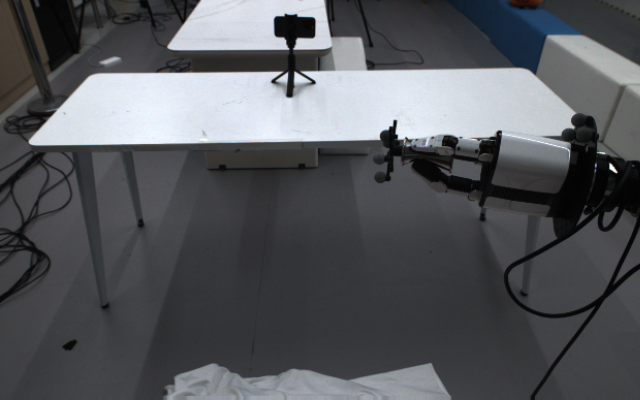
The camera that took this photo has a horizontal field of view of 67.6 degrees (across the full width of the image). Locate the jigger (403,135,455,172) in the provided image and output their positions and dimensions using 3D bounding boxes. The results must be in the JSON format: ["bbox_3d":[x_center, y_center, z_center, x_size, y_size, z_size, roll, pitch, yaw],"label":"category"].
[{"bbox_3d":[0.155,-0.068,0.663,0.071,0.043,0.043,8,35,15],"label":"jigger"}]
